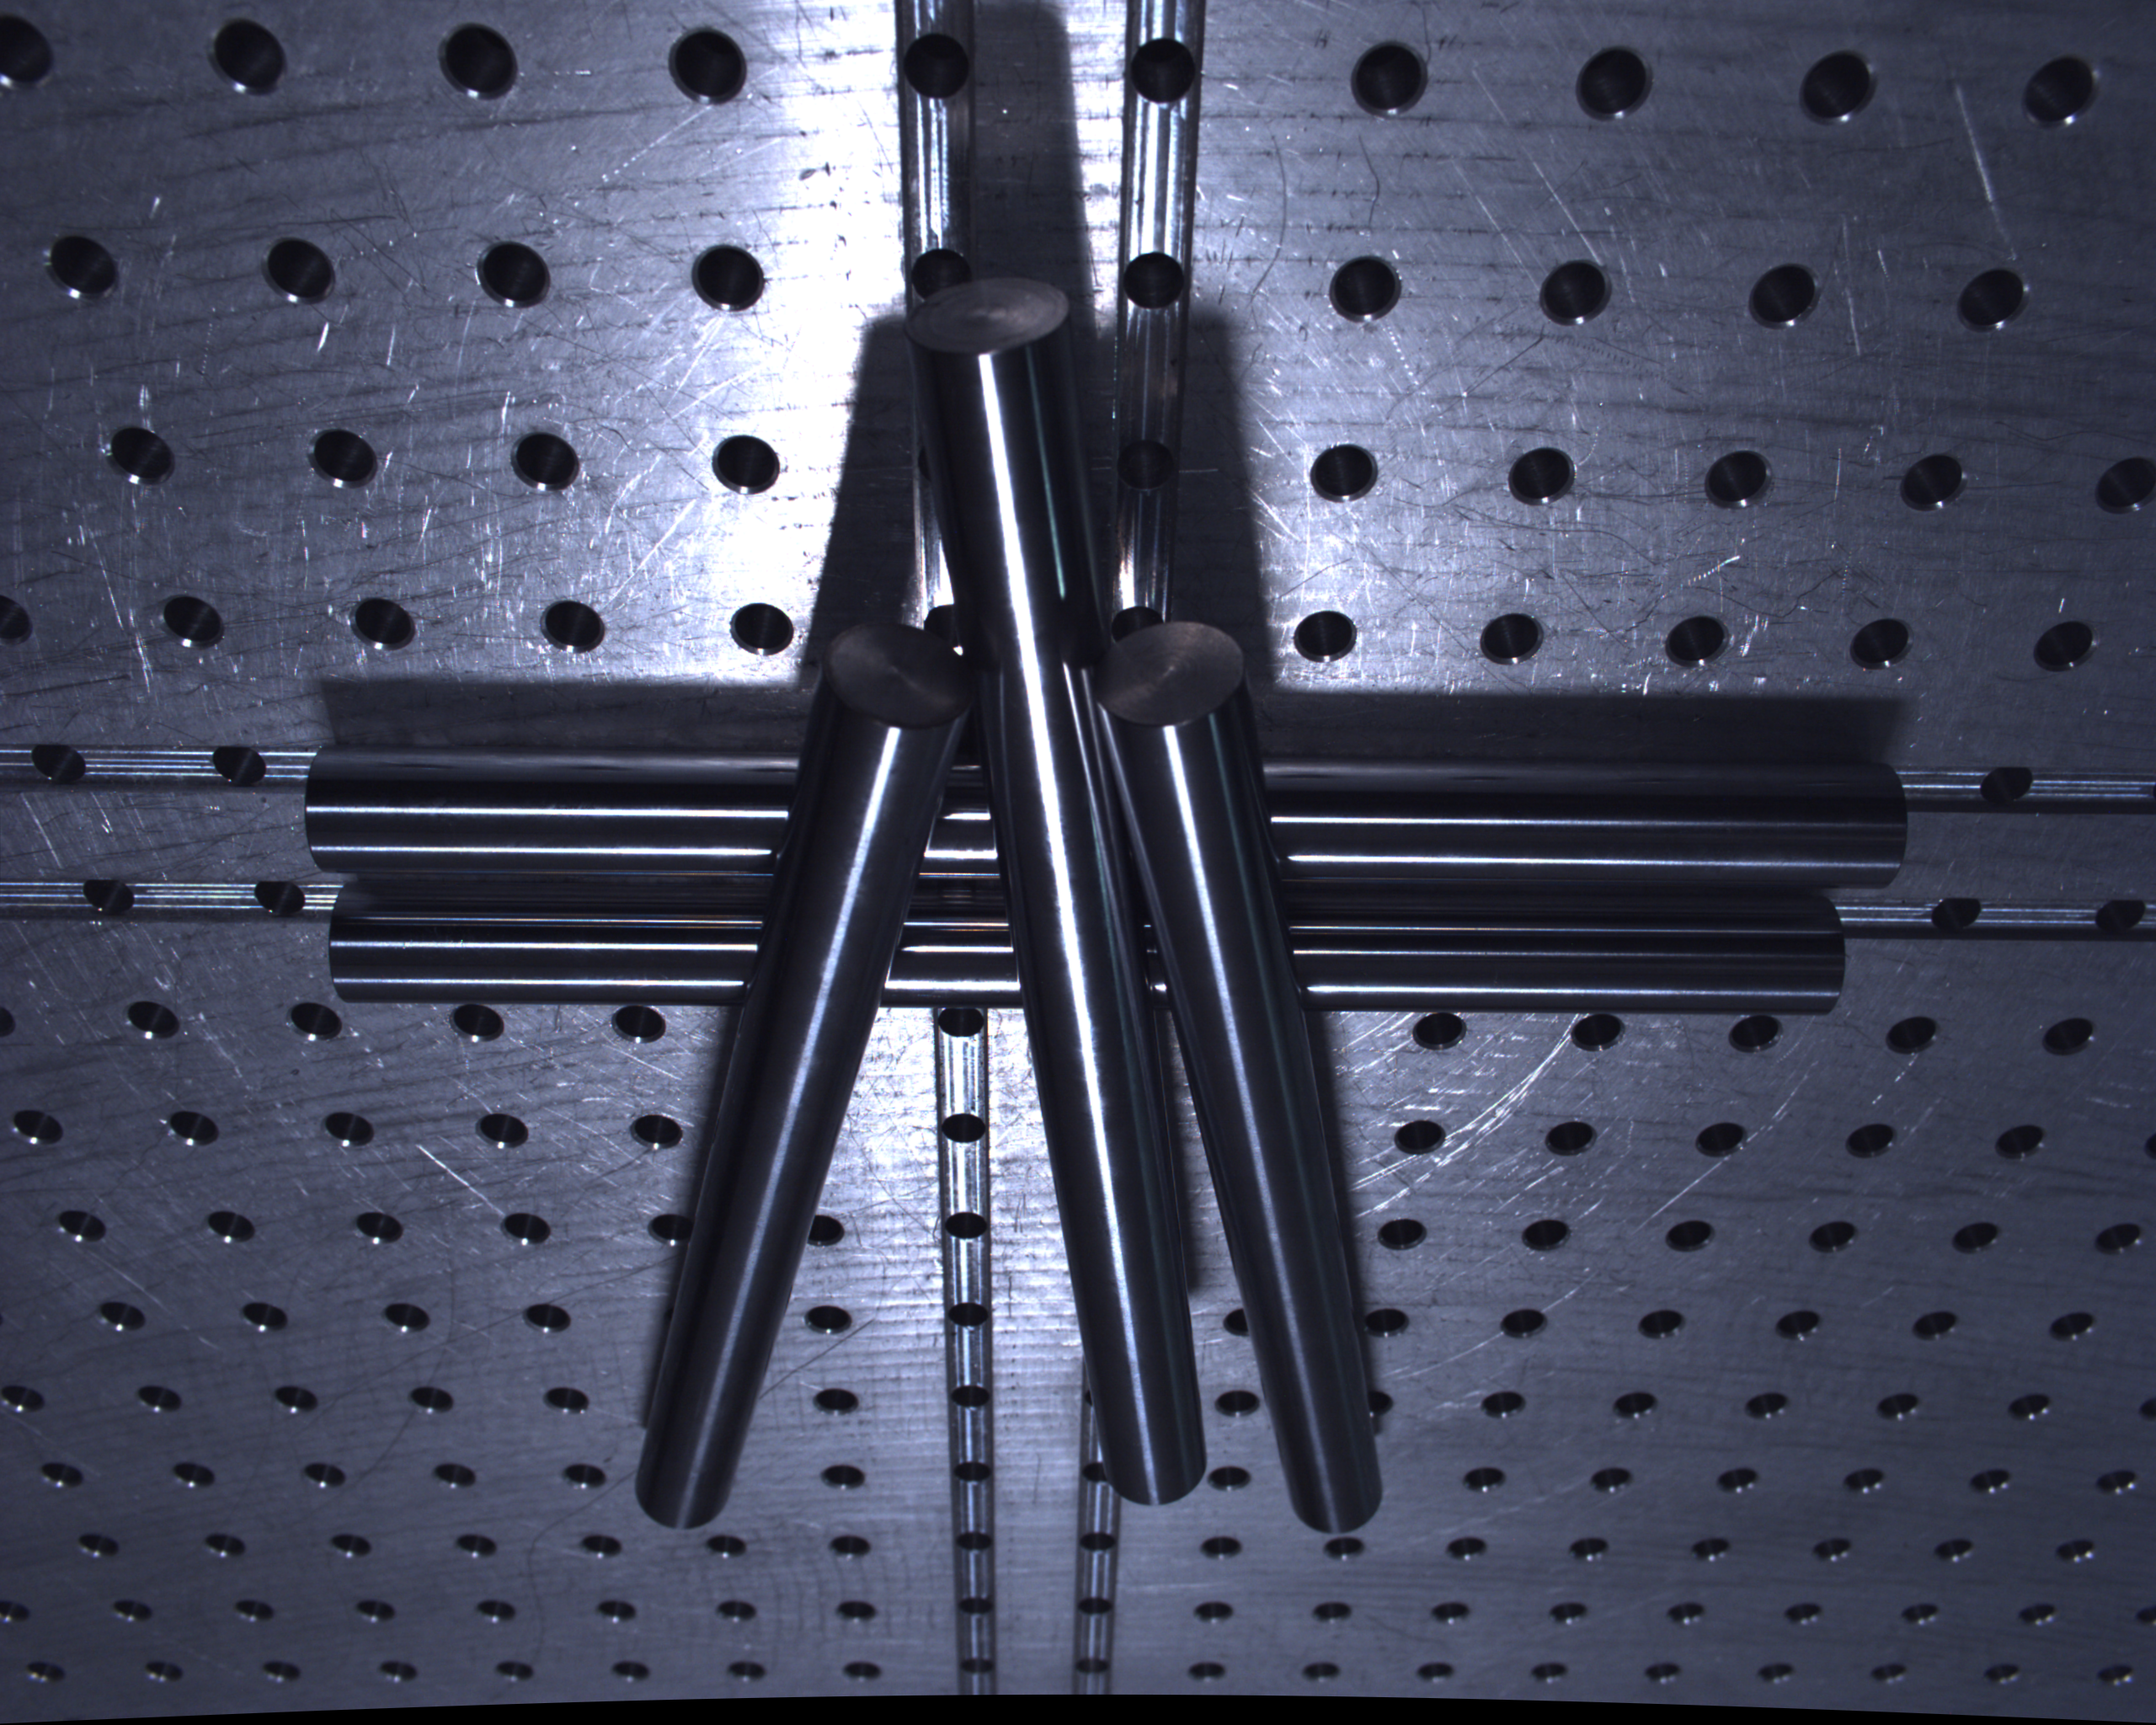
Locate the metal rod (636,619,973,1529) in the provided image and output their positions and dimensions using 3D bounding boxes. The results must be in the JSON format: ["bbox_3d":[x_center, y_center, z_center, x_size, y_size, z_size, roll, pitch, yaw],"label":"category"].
[{"bbox_3d":[-0.066,0.067,0.443,0.025,0.025,0.298,11,136,-10],"label":"metal rod"}]

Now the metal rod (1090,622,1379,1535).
[{"bbox_3d":[0.041,0.068,0.446,0.025,0.025,0.299,-8,137,6],"label":"metal rod"}]

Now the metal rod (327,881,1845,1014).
[{"bbox_3d":[0.003,0.018,0.427,0.302,0.025,0.025,1,130,-1],"label":"metal rod"}]

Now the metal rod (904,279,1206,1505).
[{"bbox_3d":[0.002,0.031,0.406,0.025,0.025,0.298,-5,130,4],"label":"metal rod"}]

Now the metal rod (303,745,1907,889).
[{"bbox_3d":[0.006,-0.009,0.405,0.302,0.025,0.025,1,130,-1],"label":"metal rod"}]
